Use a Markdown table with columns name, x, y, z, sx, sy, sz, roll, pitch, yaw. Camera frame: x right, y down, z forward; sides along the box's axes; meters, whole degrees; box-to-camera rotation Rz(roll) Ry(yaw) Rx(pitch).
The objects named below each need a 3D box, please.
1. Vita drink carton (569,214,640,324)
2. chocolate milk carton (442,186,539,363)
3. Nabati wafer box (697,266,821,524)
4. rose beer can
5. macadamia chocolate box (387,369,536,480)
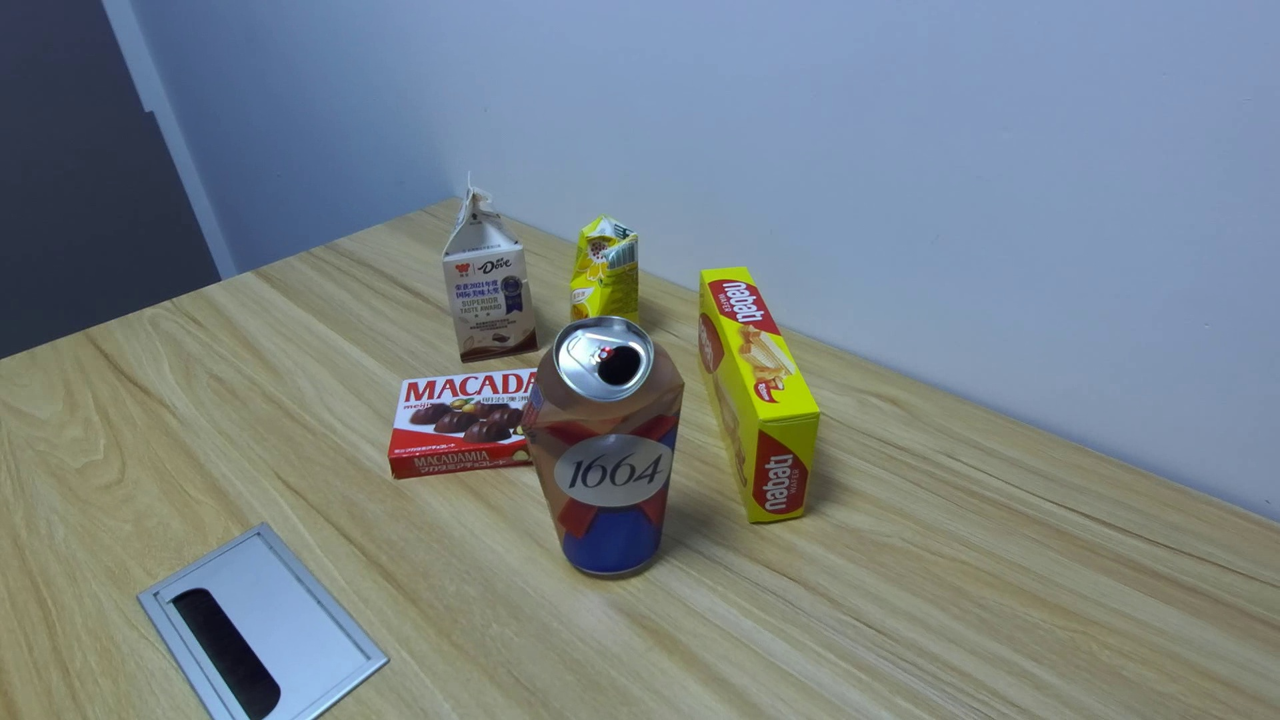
| name | x | y | z | sx | sy | sz | roll | pitch | yaw |
| --- | --- | --- | --- | --- | --- | --- | --- | --- | --- |
| Vita drink carton | -0.035 | -0.070 | 0.647 | 0.046 | 0.110 | 0.071 | -18 | 36 | -26 |
| chocolate milk carton | -0.138 | -0.084 | 0.636 | 0.073 | 0.155 | 0.084 | -9 | 33 | -9 |
| Nabati wafer box | 0.081 | 0.016 | 0.532 | 0.042 | 0.093 | 0.202 | -5 | 35 | -4 |
| rose beer can | -0.019 | 0.055 | 0.418 | 0.069 | 0.168 | 0.069 | 25 | 45 | 29 |
| macadamia chocolate box | -0.099 | 0.045 | 0.565 | 0.187 | 0.027 | 0.102 | -6 | 38 | -7 |
